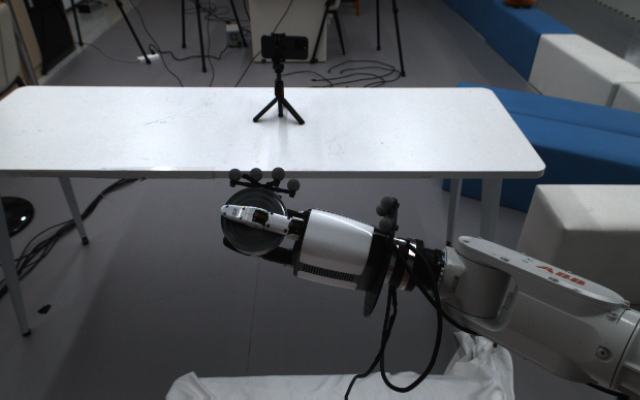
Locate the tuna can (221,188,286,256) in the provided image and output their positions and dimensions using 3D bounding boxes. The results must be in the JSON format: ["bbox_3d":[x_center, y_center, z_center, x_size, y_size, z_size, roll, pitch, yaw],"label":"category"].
[{"bbox_3d":[-0.084,0.028,0.631,0.085,0.034,0.085,1,73,-2],"label":"tuna can"}]
